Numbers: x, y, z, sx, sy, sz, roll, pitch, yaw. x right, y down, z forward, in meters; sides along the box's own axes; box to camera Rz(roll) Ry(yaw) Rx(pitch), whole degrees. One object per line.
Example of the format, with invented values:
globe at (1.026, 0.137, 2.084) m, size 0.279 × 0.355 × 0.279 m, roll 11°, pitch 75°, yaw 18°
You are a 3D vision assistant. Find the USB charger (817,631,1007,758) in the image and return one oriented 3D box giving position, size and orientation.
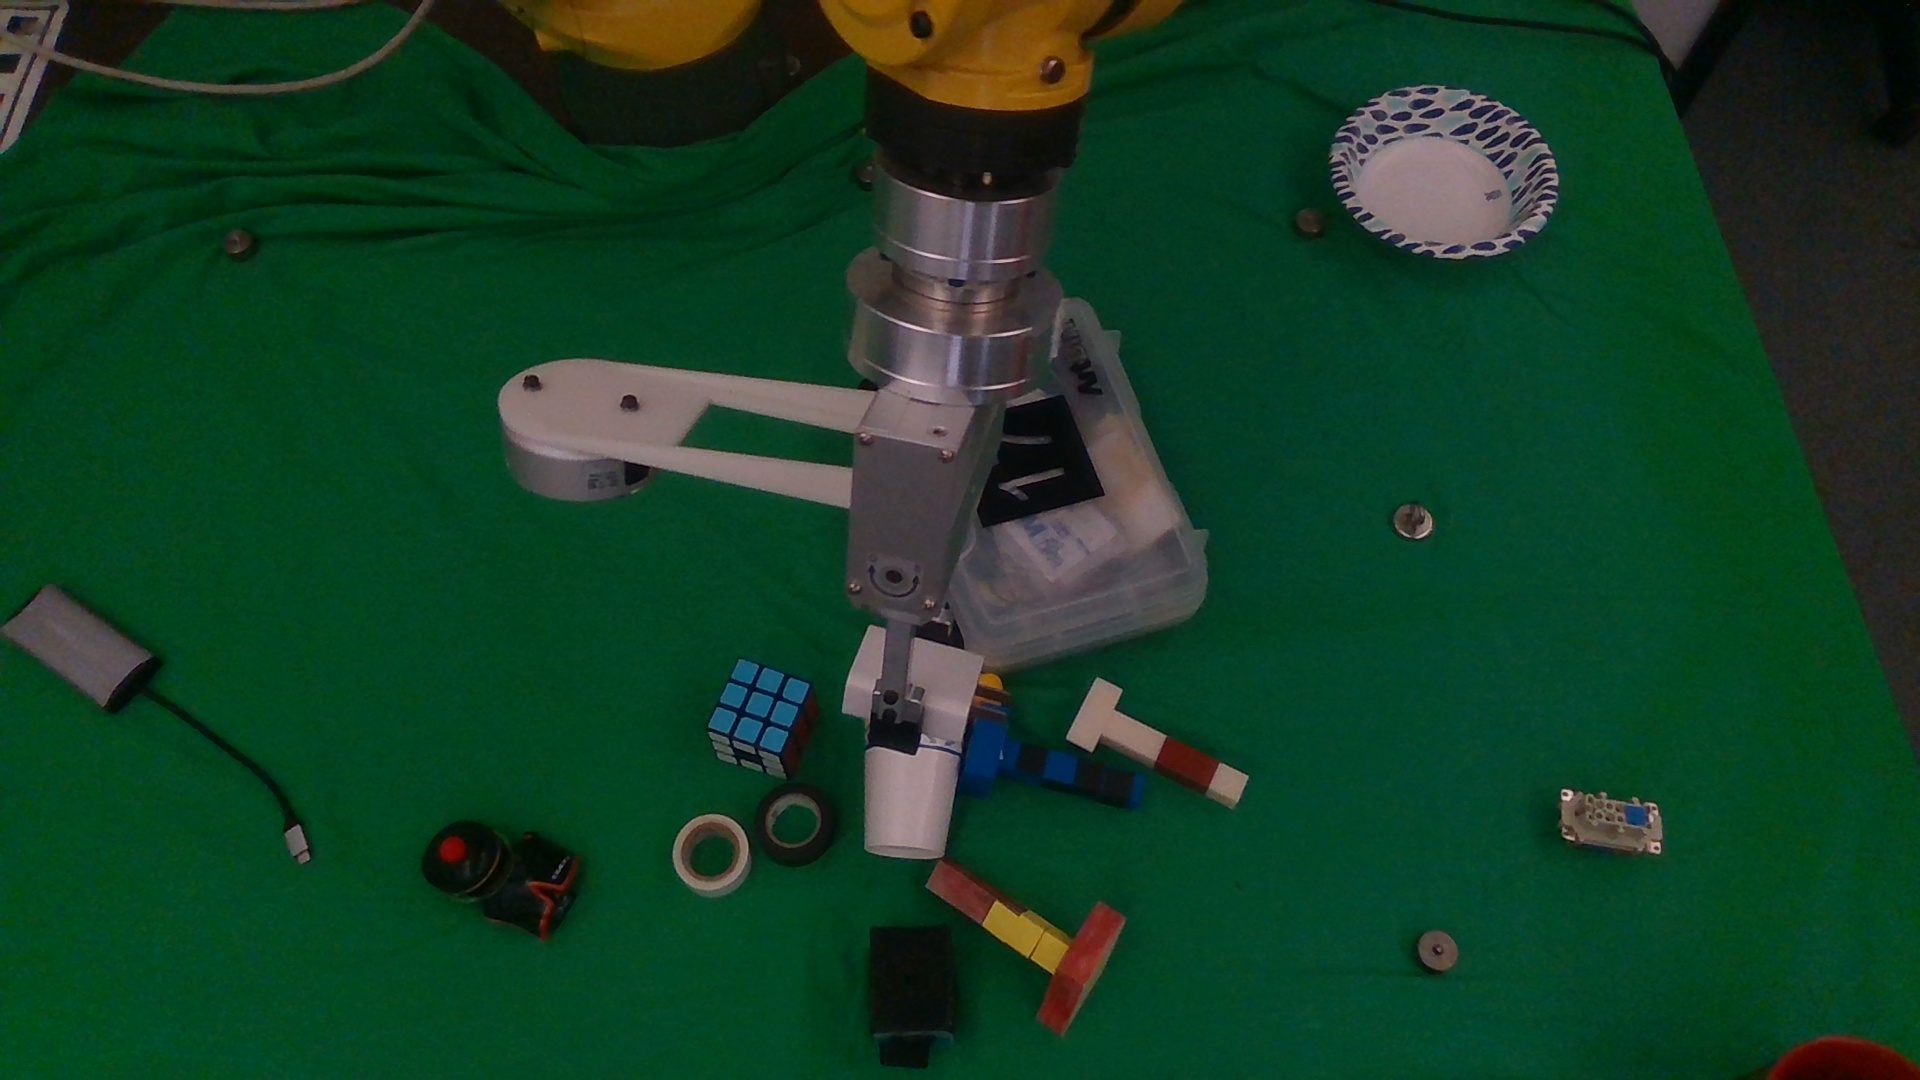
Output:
USB charger at (-0.018, 0.068, 0.593) m, size 0.076 × 0.029 × 0.044 m, roll 15°, pitch 44°, yaw 12°

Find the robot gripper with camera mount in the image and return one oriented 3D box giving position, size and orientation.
robot gripper with camera mount at (-0.091, -0.009, 0.554) m, size 0.193 × 0.158 × 0.119 m, roll 15°, pitch 36°, yaw 4°
